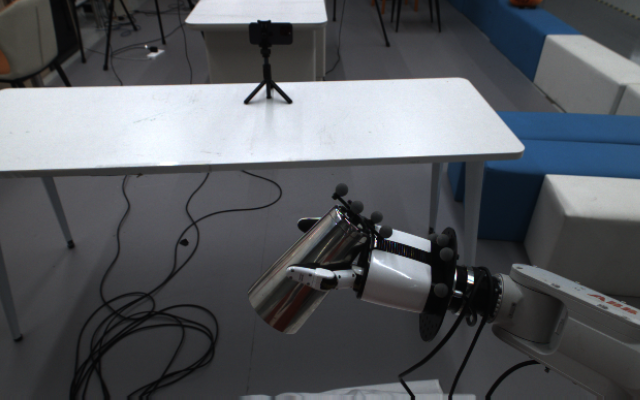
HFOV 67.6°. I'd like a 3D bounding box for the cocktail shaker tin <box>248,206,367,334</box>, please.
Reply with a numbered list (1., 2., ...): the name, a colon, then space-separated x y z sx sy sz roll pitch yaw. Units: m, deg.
1. cocktail shaker tin: -0.010 0.085 0.663 0.093 0.170 0.093 41 13 -12
